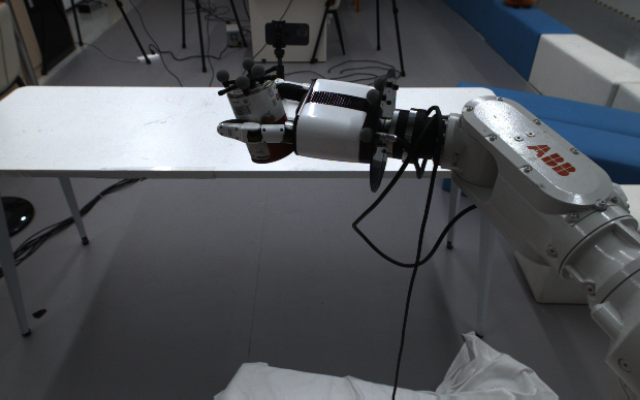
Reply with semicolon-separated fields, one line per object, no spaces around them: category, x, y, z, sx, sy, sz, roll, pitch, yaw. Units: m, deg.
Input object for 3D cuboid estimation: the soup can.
soup can;-0.078;-0.109;0.659;0.067;0.101;0.067;-13;31;8
